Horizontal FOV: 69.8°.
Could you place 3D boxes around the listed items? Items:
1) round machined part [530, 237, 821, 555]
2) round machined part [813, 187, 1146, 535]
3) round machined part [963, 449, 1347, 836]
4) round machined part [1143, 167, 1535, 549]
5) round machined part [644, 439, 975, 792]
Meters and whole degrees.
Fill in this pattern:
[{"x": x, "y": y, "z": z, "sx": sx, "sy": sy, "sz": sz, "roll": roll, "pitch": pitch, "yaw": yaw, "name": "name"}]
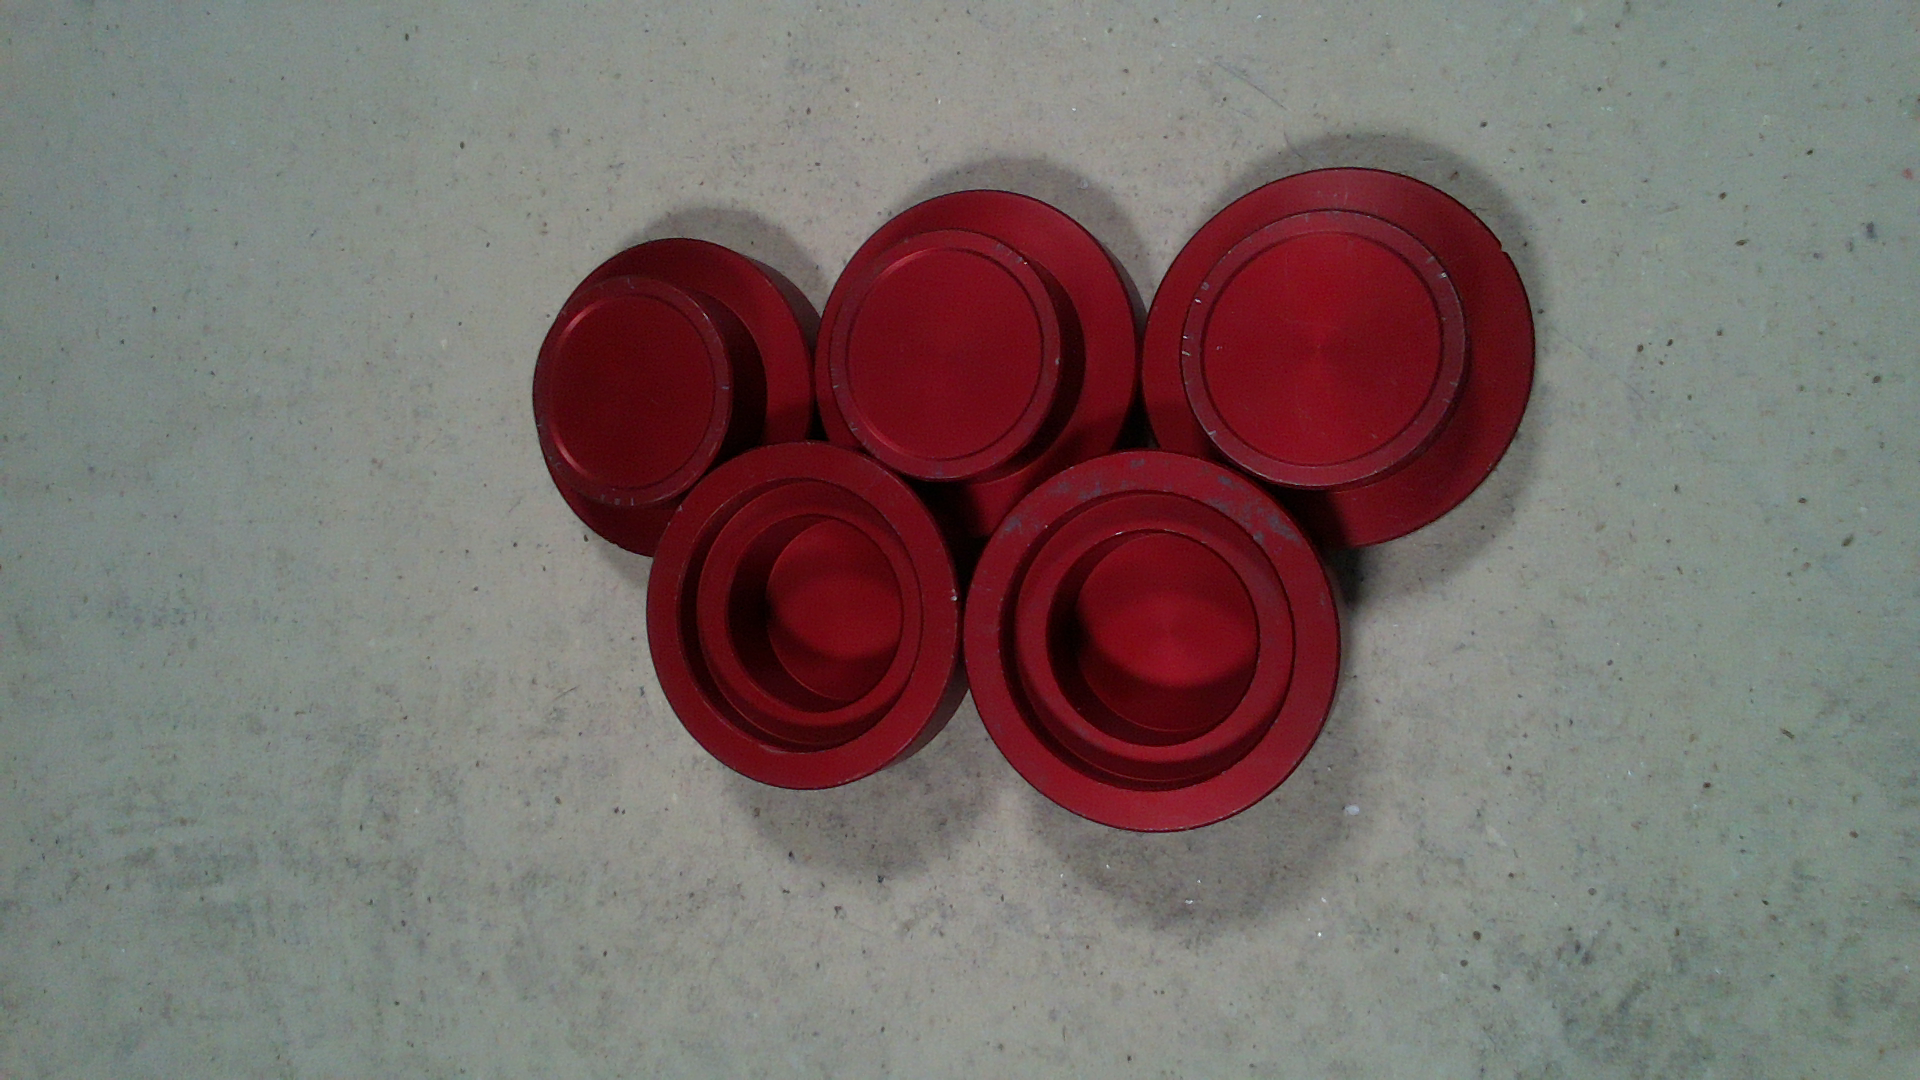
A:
[{"x": -0.090, "y": -0.044, "z": 0.420, "sx": 0.098, "sy": 0.042, "sz": 0.098, "roll": 0, "pitch": 90, "yaw": 20, "name": "round machined part"}, {"x": 0.002, "y": -0.050, "z": 0.386, "sx": 0.098, "sy": 0.042, "sz": 0.098, "roll": 0, "pitch": 90, "yaw": 20, "name": "round machined part"}, {"x": 0.054, "y": 0.026, "z": 0.368, "sx": 0.098, "sy": 0.042, "sz": 0.098, "roll": 0, "pitch": 90, "yaw": 20, "name": "round machined part"}, {"x": 0.095, "y": -0.047, "z": 0.353, "sx": 0.098, "sy": 0.042, "sz": 0.098, "roll": 0, "pitch": 90, "yaw": 20, "name": "round machined part"}, {"x": -0.039, "y": 0.021, "z": 0.401, "sx": 0.098, "sy": 0.042, "sz": 0.098, "roll": 0, "pitch": 90, "yaw": 20, "name": "round machined part"}]
